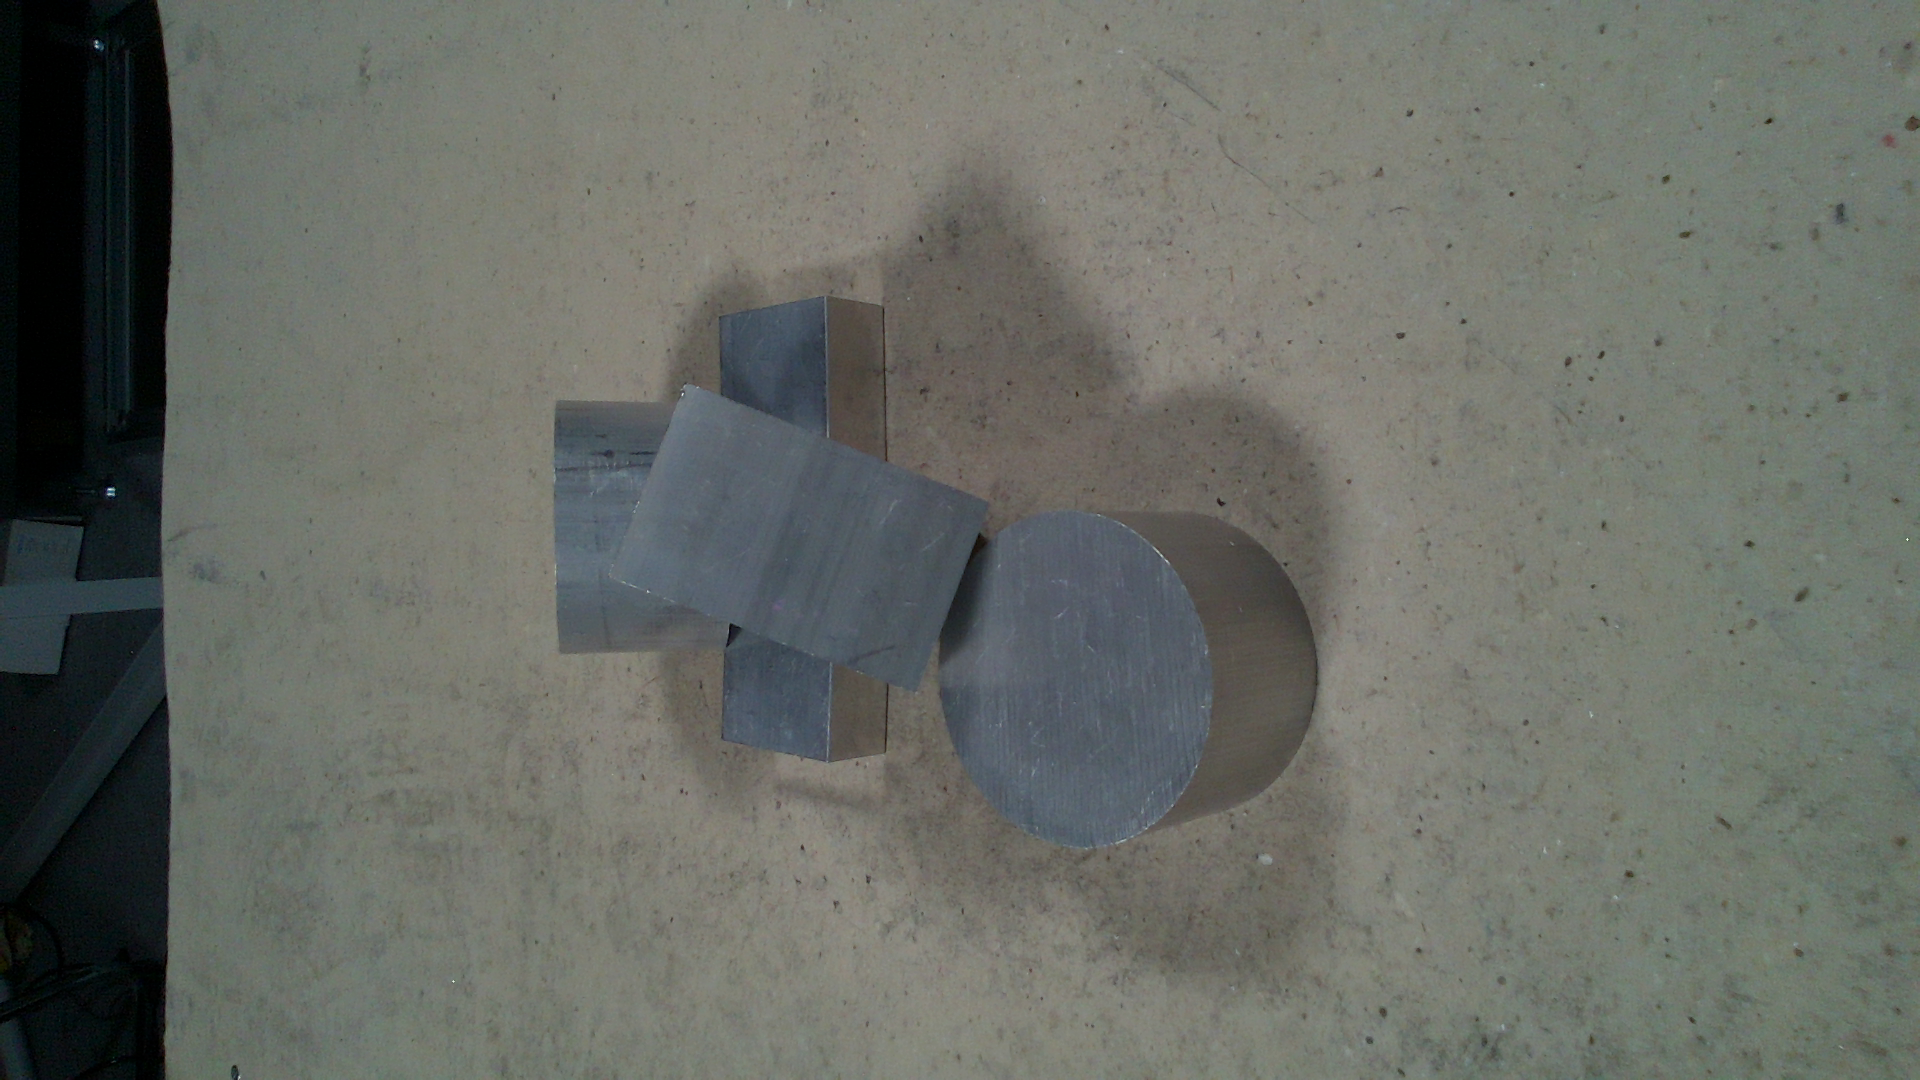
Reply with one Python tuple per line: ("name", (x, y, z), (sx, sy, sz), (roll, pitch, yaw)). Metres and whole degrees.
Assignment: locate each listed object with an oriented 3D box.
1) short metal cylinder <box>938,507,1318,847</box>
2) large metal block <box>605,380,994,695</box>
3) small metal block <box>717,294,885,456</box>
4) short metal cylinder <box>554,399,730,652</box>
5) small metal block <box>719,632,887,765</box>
("short metal cylinder", (0.041, 0.032, 0.344), (0.080, 0.050, 0.080), (0, 90, 40))
("large metal block", (-0.041, 0.001, 0.369), (0.080, 0.080, 0.050), (21, 87, -4))
("small metal block", (-0.051, -0.048, 0.437), (0.050, 0.025, 0.050), (-2, 89, 40))
("short metal cylinder", (-0.102, -0.005, 0.441), (0.080, 0.050, 0.080), (179, 90, -76))
("small metal block", (-0.050, 0.041, 0.437), (0.050, 0.025, 0.050), (3, 92, 40))
